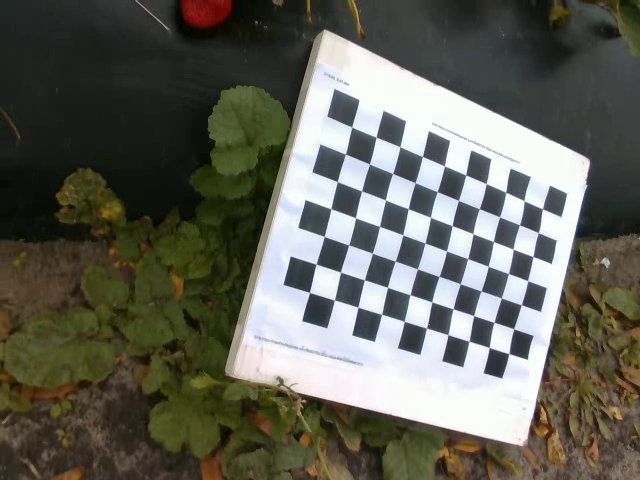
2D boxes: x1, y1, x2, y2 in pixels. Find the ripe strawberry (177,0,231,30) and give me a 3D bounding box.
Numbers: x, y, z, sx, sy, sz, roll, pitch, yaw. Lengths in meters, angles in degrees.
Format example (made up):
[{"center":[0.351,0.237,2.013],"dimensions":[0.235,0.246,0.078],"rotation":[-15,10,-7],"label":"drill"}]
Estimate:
[{"center":[-0.054,-0.115,0.339],"dimensions":[0.029,0.033,0.022],"rotation":[33,-16,-16],"label":"ripe strawberry"}]
